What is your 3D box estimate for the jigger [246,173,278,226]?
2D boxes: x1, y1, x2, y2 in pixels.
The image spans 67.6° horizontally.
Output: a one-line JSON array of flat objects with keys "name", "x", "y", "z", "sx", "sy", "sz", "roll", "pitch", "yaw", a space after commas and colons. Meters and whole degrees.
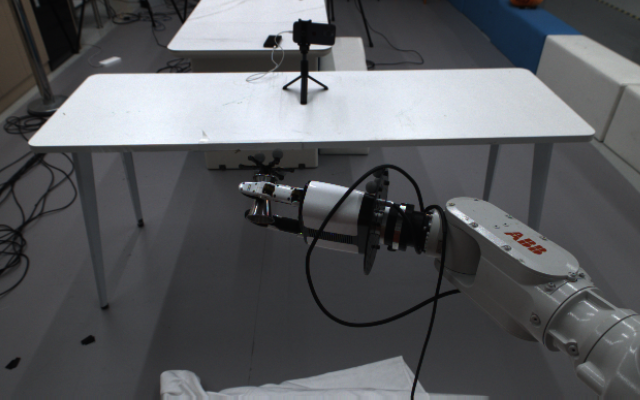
[{"name": "jigger", "x": -0.090, "y": -0.003, "z": 0.749, "sx": 0.043, "sy": 0.043, "sz": 0.071, "roll": 4, "pitch": 71, "yaw": 3}]
